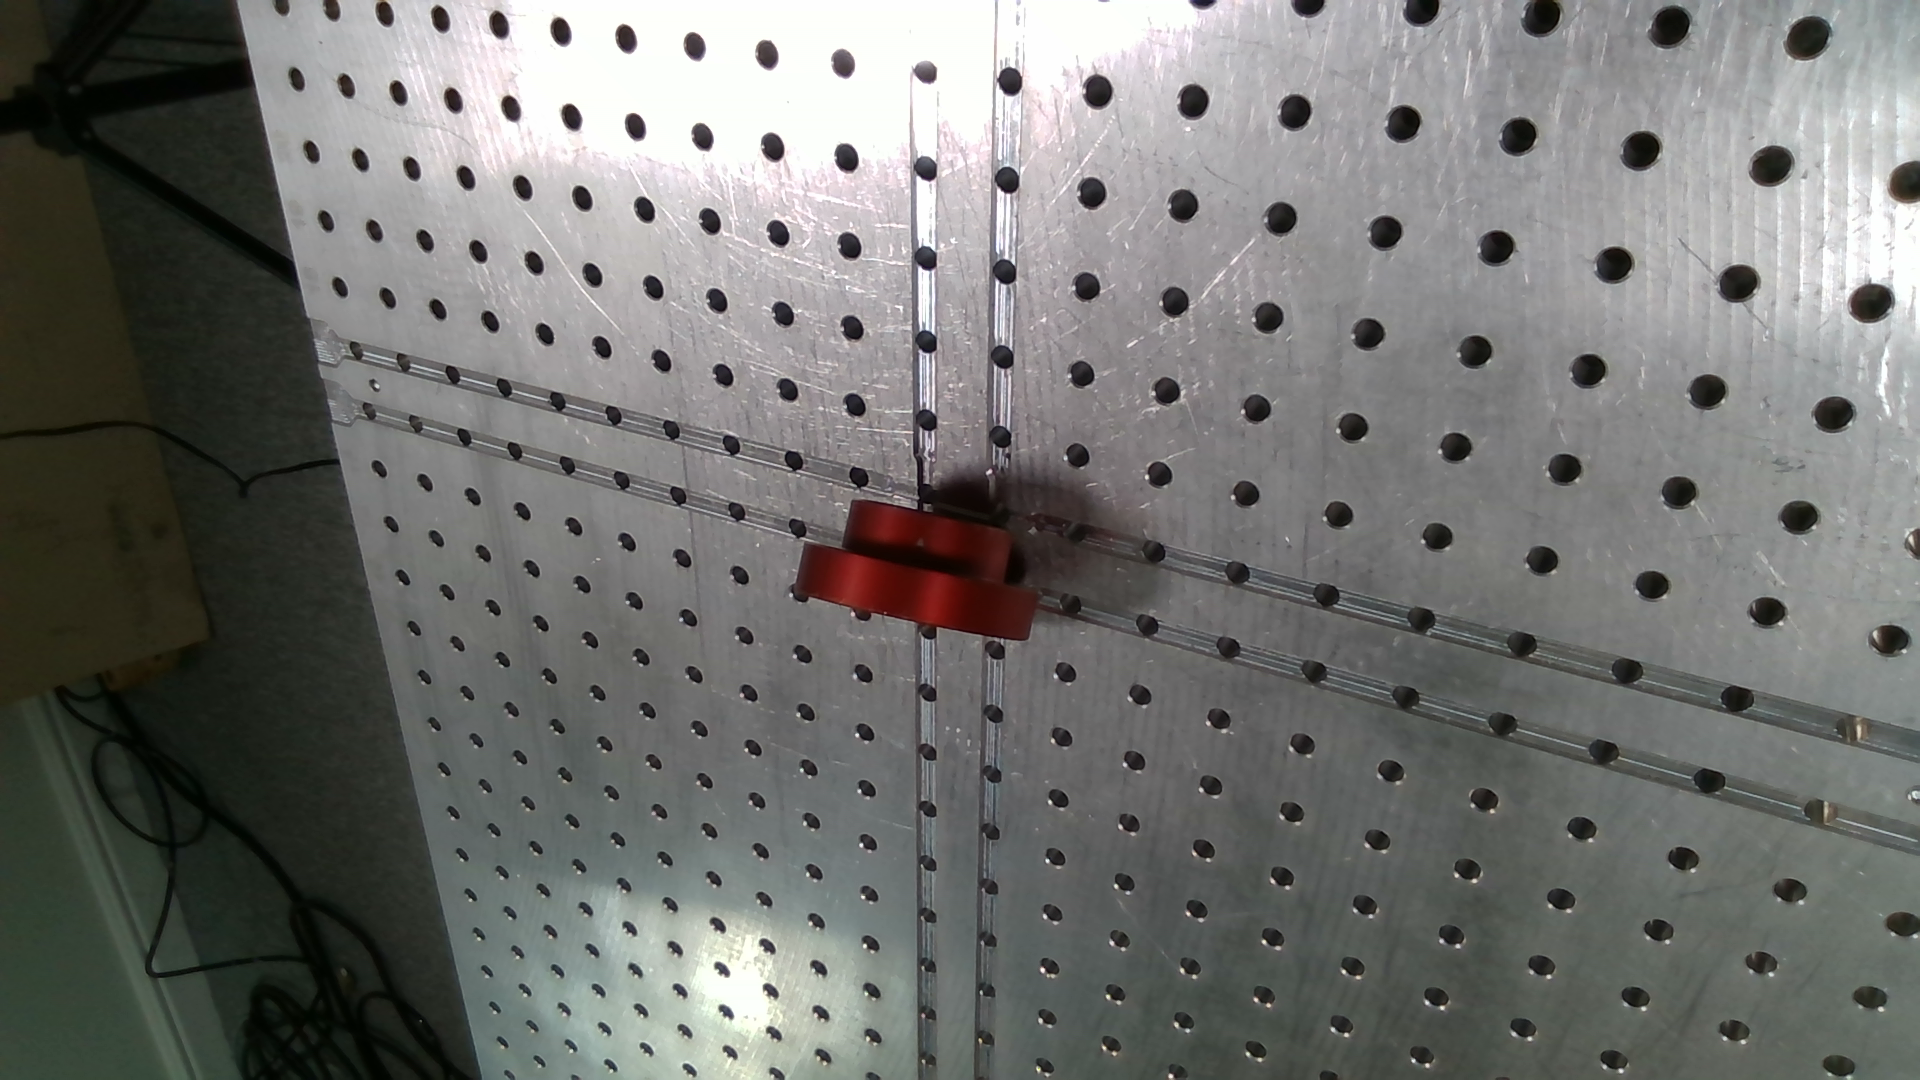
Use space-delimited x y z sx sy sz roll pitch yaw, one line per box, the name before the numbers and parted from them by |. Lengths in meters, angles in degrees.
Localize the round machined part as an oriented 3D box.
round machined part | -0.016 0.010 0.562 0.098 0.098 0.042 12 89 26
